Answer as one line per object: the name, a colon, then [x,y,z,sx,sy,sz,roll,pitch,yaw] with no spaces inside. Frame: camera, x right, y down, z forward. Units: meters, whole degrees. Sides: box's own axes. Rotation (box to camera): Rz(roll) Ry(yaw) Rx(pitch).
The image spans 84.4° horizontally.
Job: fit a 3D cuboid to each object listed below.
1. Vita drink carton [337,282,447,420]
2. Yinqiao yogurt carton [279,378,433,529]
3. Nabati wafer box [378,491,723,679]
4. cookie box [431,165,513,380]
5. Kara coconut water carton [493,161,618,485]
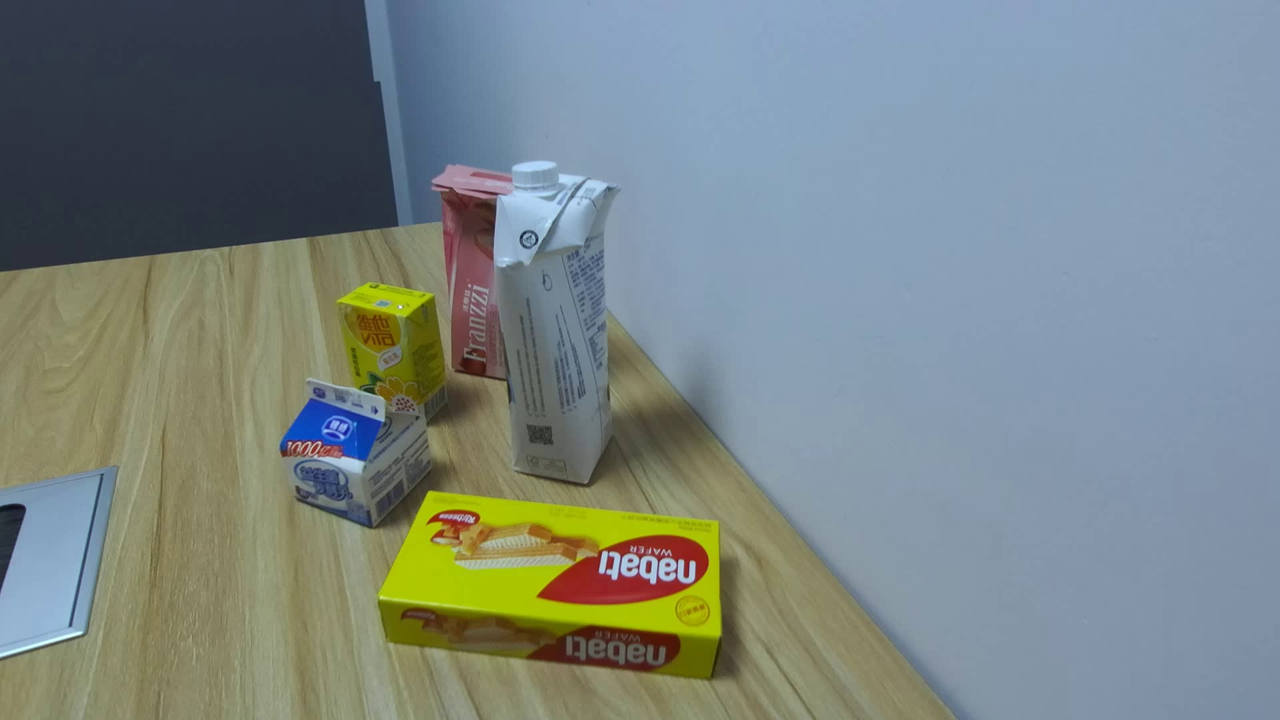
Vita drink carton: [-0.208,-0.005,0.591,0.076,0.109,0.043,13,34,14]
Yinqiao yogurt carton: [-0.206,0.056,0.512,0.075,0.092,0.074,14,34,16]
Nabati wafer box: [-0.051,0.139,0.448,0.203,0.042,0.092,5,33,3]
cookie box: [-0.128,-0.071,0.633,0.118,0.184,0.055,15,36,18]
Kara coconut water carton: [-0.058,-0.024,0.516,0.069,0.239,0.115,10,33,13]
